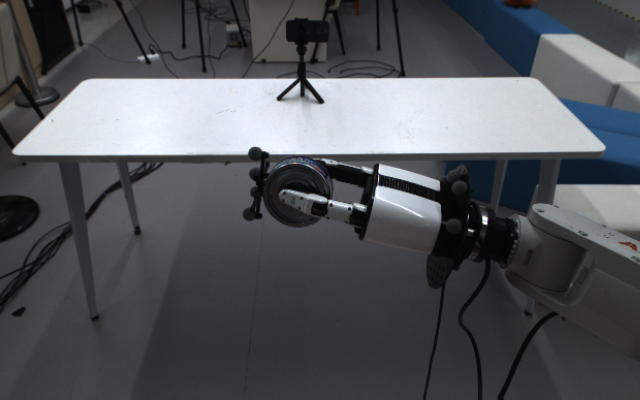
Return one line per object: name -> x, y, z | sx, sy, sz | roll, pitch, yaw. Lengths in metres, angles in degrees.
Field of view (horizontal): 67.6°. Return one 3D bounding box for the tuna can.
tuna can -> -0.025, -0.011, 0.605 | 0.085, 0.085, 0.034 | 4, 18, 3
